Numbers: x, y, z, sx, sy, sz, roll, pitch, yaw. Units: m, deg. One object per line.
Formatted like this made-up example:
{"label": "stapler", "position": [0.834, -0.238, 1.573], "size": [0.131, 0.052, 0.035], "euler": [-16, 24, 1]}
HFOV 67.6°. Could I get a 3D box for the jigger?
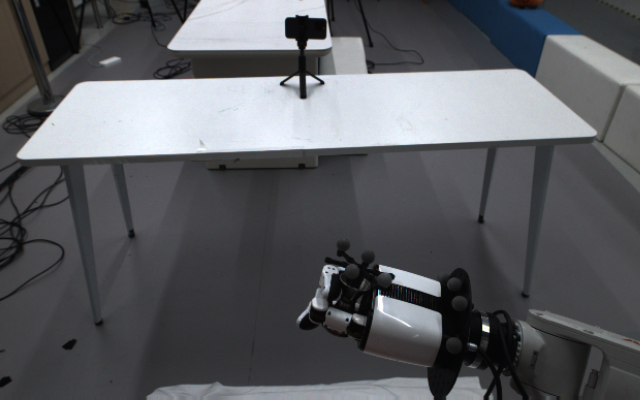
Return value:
{"label": "jigger", "position": [0.034, 0.129, 0.598], "size": [0.043, 0.071, 0.043], "euler": [18, 17, -6]}
